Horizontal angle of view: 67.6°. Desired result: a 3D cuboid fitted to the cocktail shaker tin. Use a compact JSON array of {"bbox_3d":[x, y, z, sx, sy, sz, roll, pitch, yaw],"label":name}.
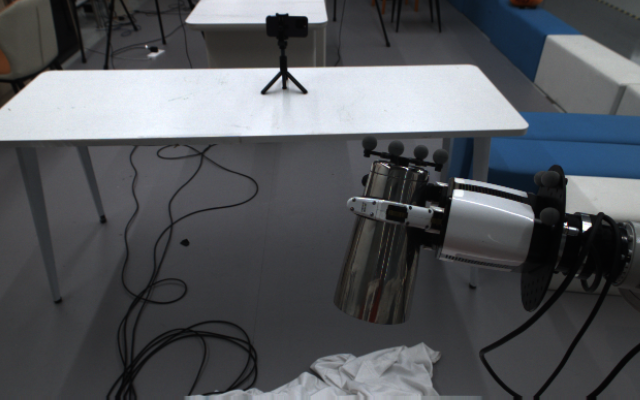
[{"bbox_3d":[0.080,0.042,0.560,0.093,0.170,0.093,10,9,-2],"label":"cocktail shaker tin"}]
